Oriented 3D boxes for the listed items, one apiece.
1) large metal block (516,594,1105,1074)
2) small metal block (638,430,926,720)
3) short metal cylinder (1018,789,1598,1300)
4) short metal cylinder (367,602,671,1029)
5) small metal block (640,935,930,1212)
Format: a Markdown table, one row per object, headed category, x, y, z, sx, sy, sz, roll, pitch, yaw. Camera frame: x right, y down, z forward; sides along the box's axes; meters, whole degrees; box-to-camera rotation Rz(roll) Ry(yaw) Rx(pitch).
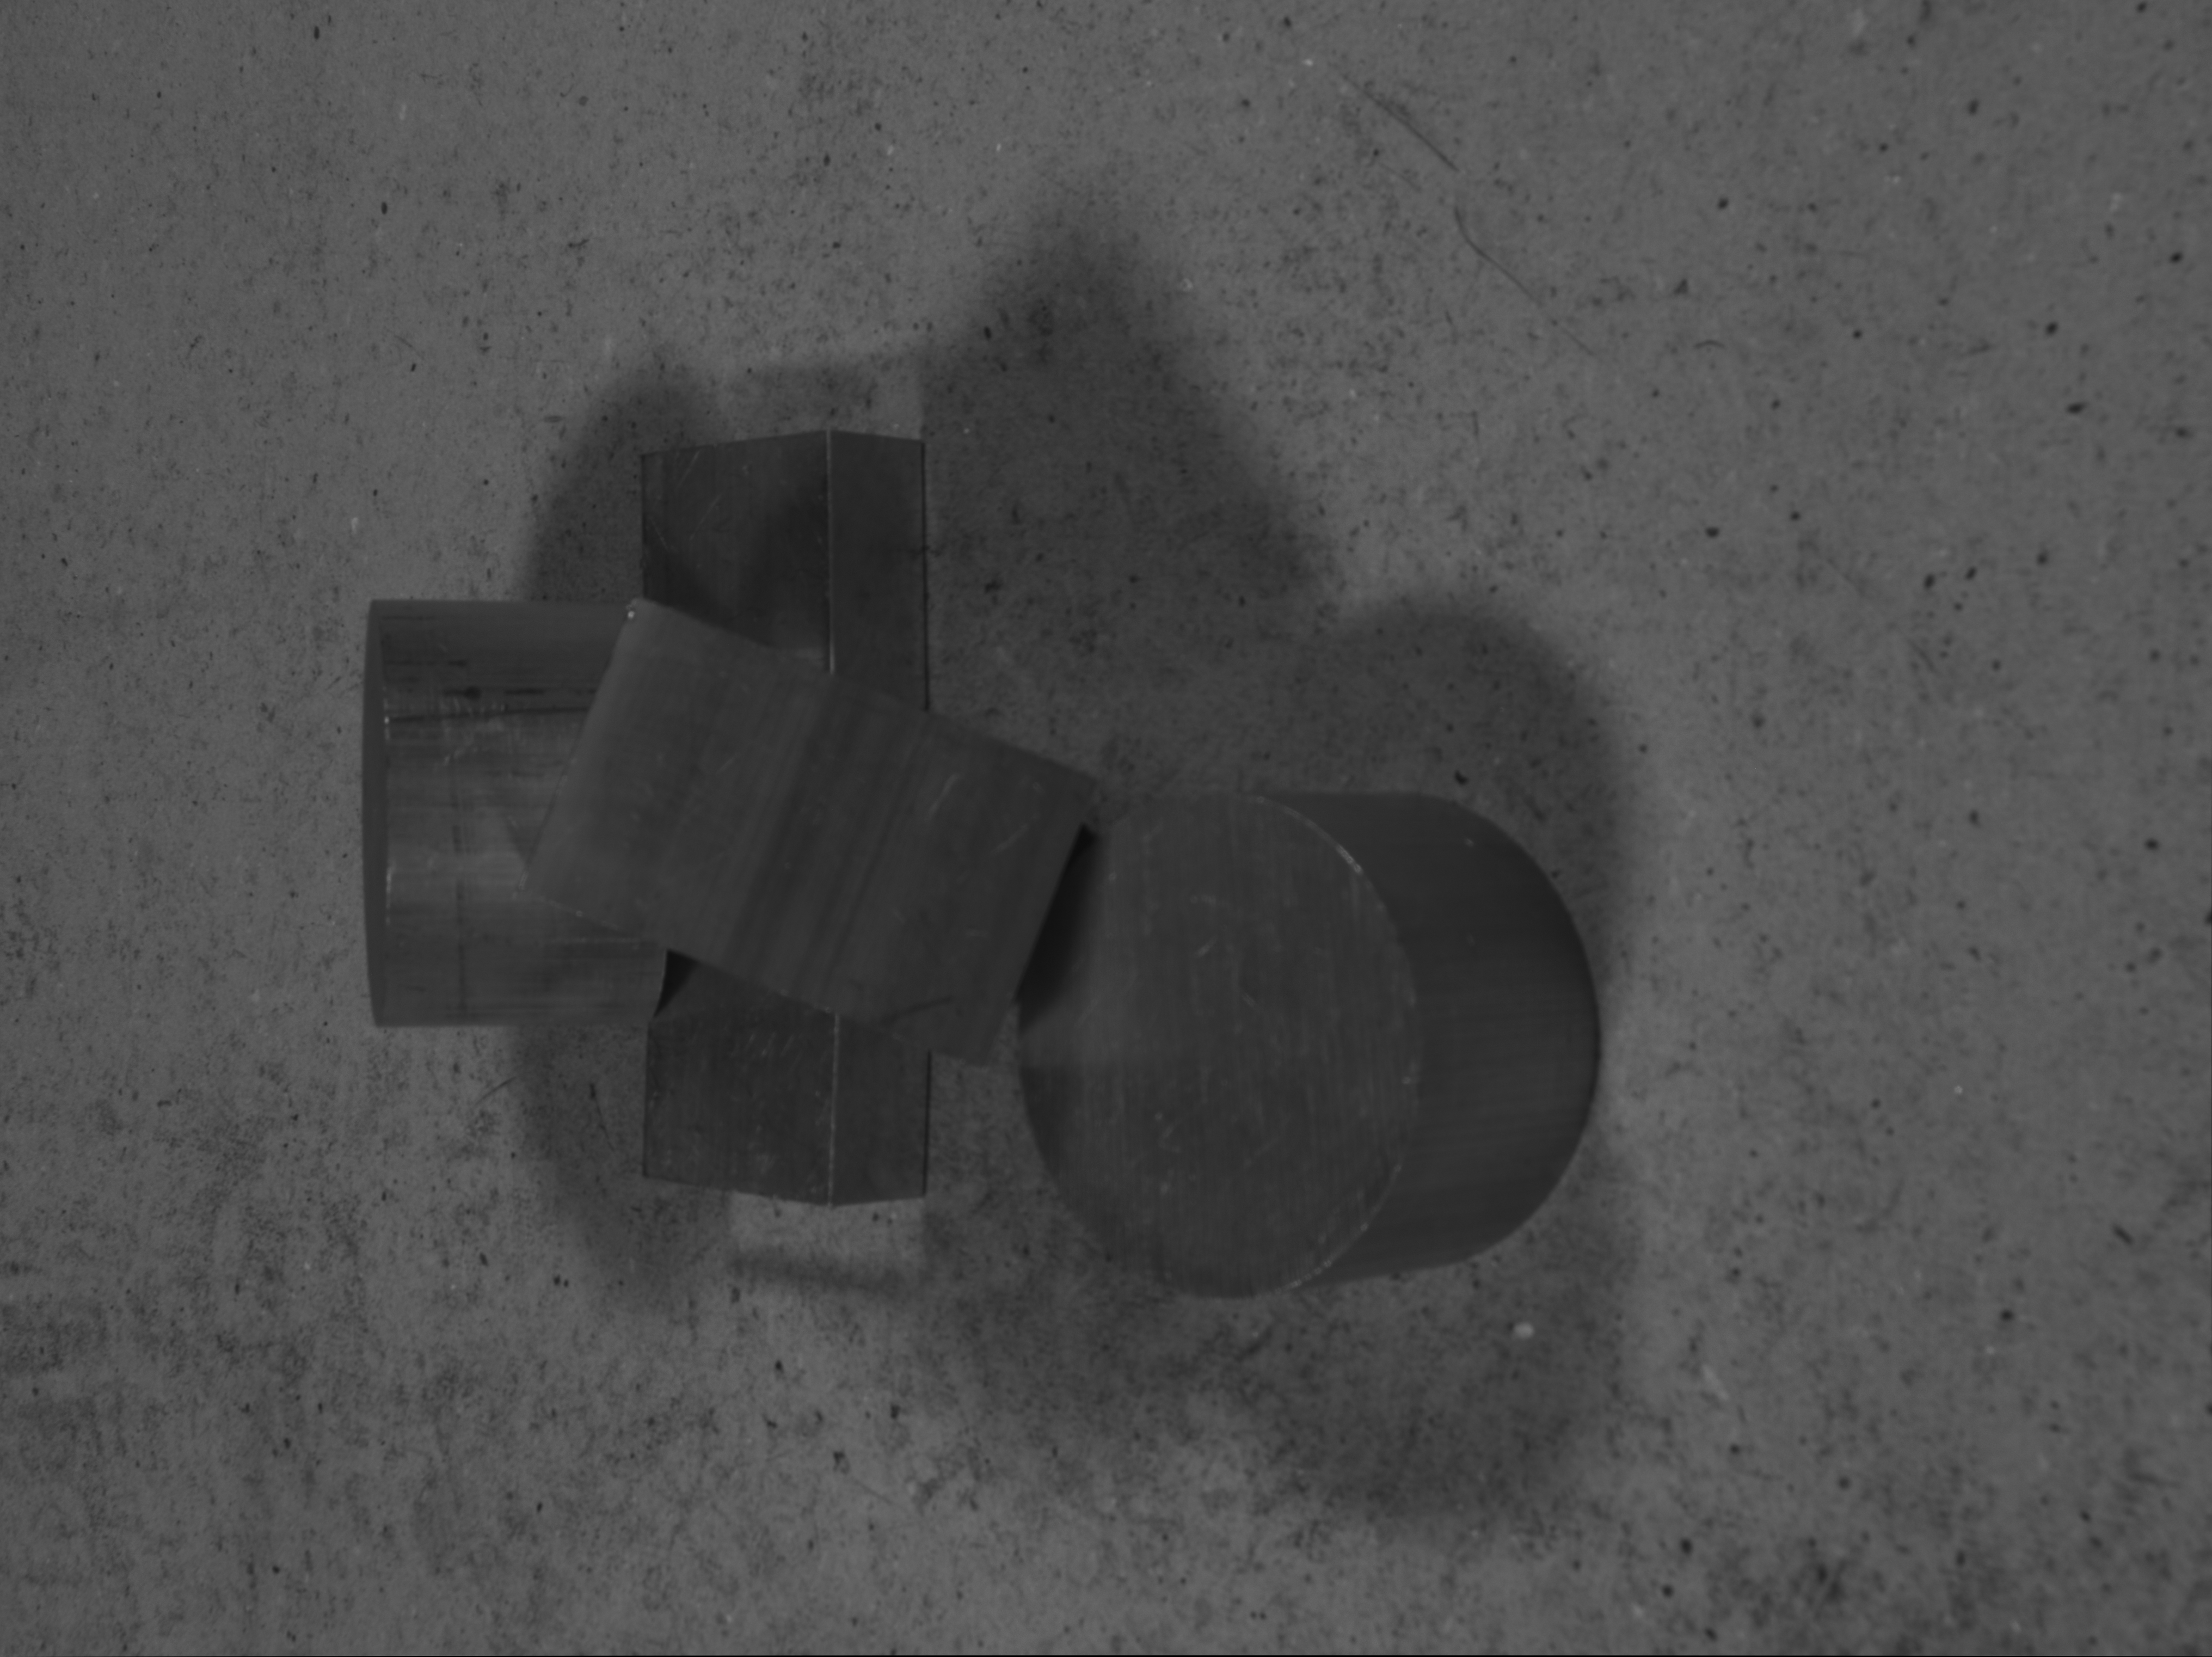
| category | x | y | z | sx | sy | sz | roll | pitch | yaw |
| --- | --- | --- | --- | --- | --- | --- | --- | --- | --- |
| large metal block | -0.050 | 0.002 | 0.618 | 0.080 | 0.080 | 0.050 | 22 | 86 | -5 |
| small metal block | -0.061 | -0.046 | 0.686 | 0.050 | 0.025 | 0.050 | -2 | 89 | 39 |
| short metal cylinder | 0.032 | 0.034 | 0.594 | 0.080 | 0.050 | 0.080 | 0 | 90 | 39 |
| short metal cylinder | -0.112 | -0.003 | 0.689 | 0.080 | 0.050 | 0.080 | 179 | 90 | -75 |
| small metal block | -0.060 | 0.043 | 0.685 | 0.050 | 0.025 | 0.050 | 3 | 92 | 39 |
